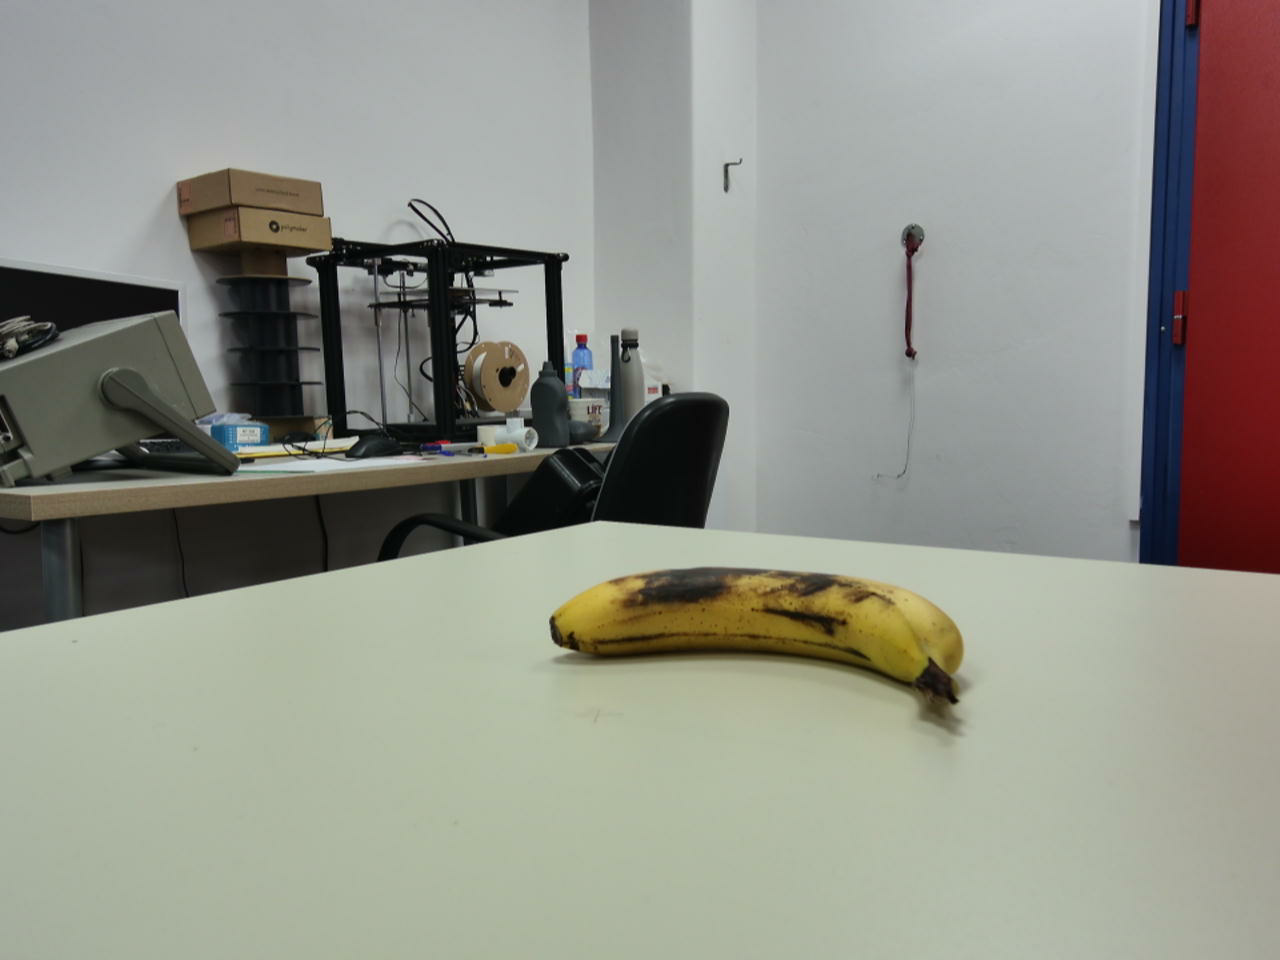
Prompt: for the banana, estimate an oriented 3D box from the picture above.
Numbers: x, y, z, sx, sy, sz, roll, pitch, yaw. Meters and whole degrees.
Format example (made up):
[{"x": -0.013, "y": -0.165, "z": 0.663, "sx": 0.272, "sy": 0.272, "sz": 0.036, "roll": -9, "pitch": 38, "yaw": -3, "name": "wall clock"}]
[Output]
[{"x": 0.059, "y": 0.063, "z": 0.440, "sx": 0.187, "sy": 0.039, "sz": 0.094, "roll": 2, "pitch": 4, "yaw": 36, "name": "banana"}]
